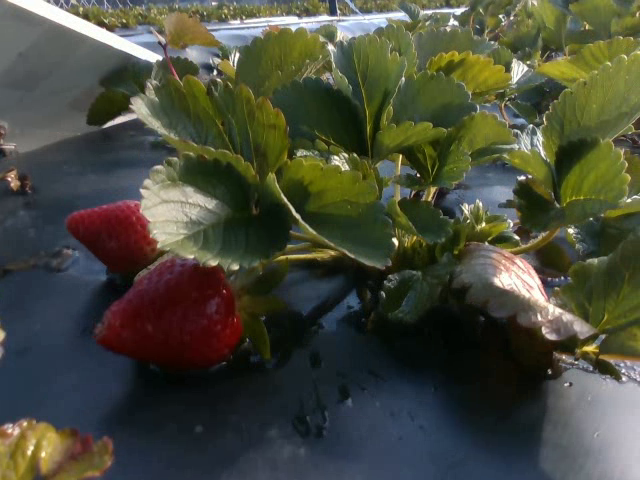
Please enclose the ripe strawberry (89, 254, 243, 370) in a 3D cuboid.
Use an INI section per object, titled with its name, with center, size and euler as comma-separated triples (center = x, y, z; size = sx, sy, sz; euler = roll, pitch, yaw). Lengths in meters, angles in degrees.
[ripe strawberry]
center = -0.064, 0.029, 0.245
size = 0.064, 0.050, 0.048
euler = -26, -8, -34
